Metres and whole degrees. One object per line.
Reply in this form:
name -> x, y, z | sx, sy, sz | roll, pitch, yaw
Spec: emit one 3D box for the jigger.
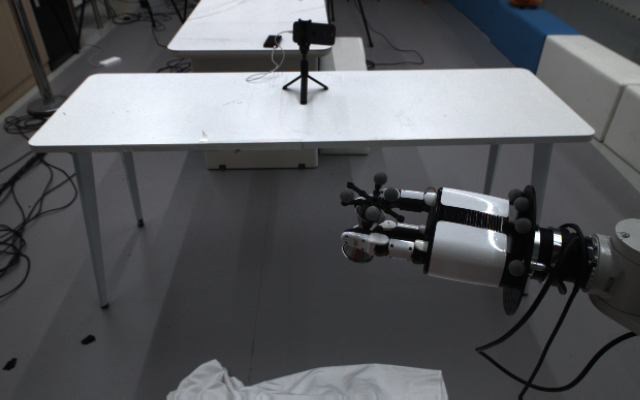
jigger -> 0.056, 0.043, 0.628 | 0.043, 0.071, 0.043 | 10, 35, -7
